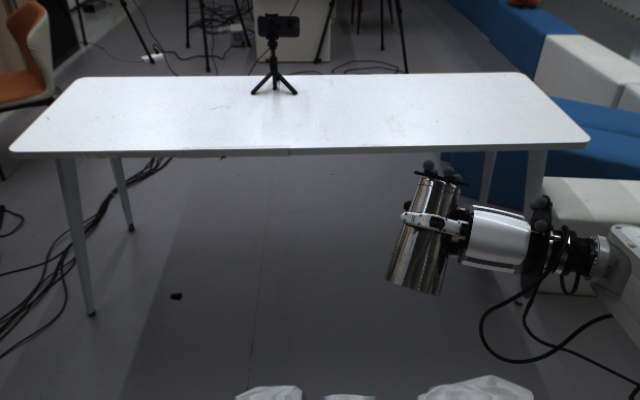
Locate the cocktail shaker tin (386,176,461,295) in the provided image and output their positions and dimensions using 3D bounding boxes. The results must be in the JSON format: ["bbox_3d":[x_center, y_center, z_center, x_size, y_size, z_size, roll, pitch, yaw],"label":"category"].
[{"bbox_3d":[0.170,0.055,0.768,0.093,0.170,0.093,15,-2,1],"label":"cocktail shaker tin"}]
